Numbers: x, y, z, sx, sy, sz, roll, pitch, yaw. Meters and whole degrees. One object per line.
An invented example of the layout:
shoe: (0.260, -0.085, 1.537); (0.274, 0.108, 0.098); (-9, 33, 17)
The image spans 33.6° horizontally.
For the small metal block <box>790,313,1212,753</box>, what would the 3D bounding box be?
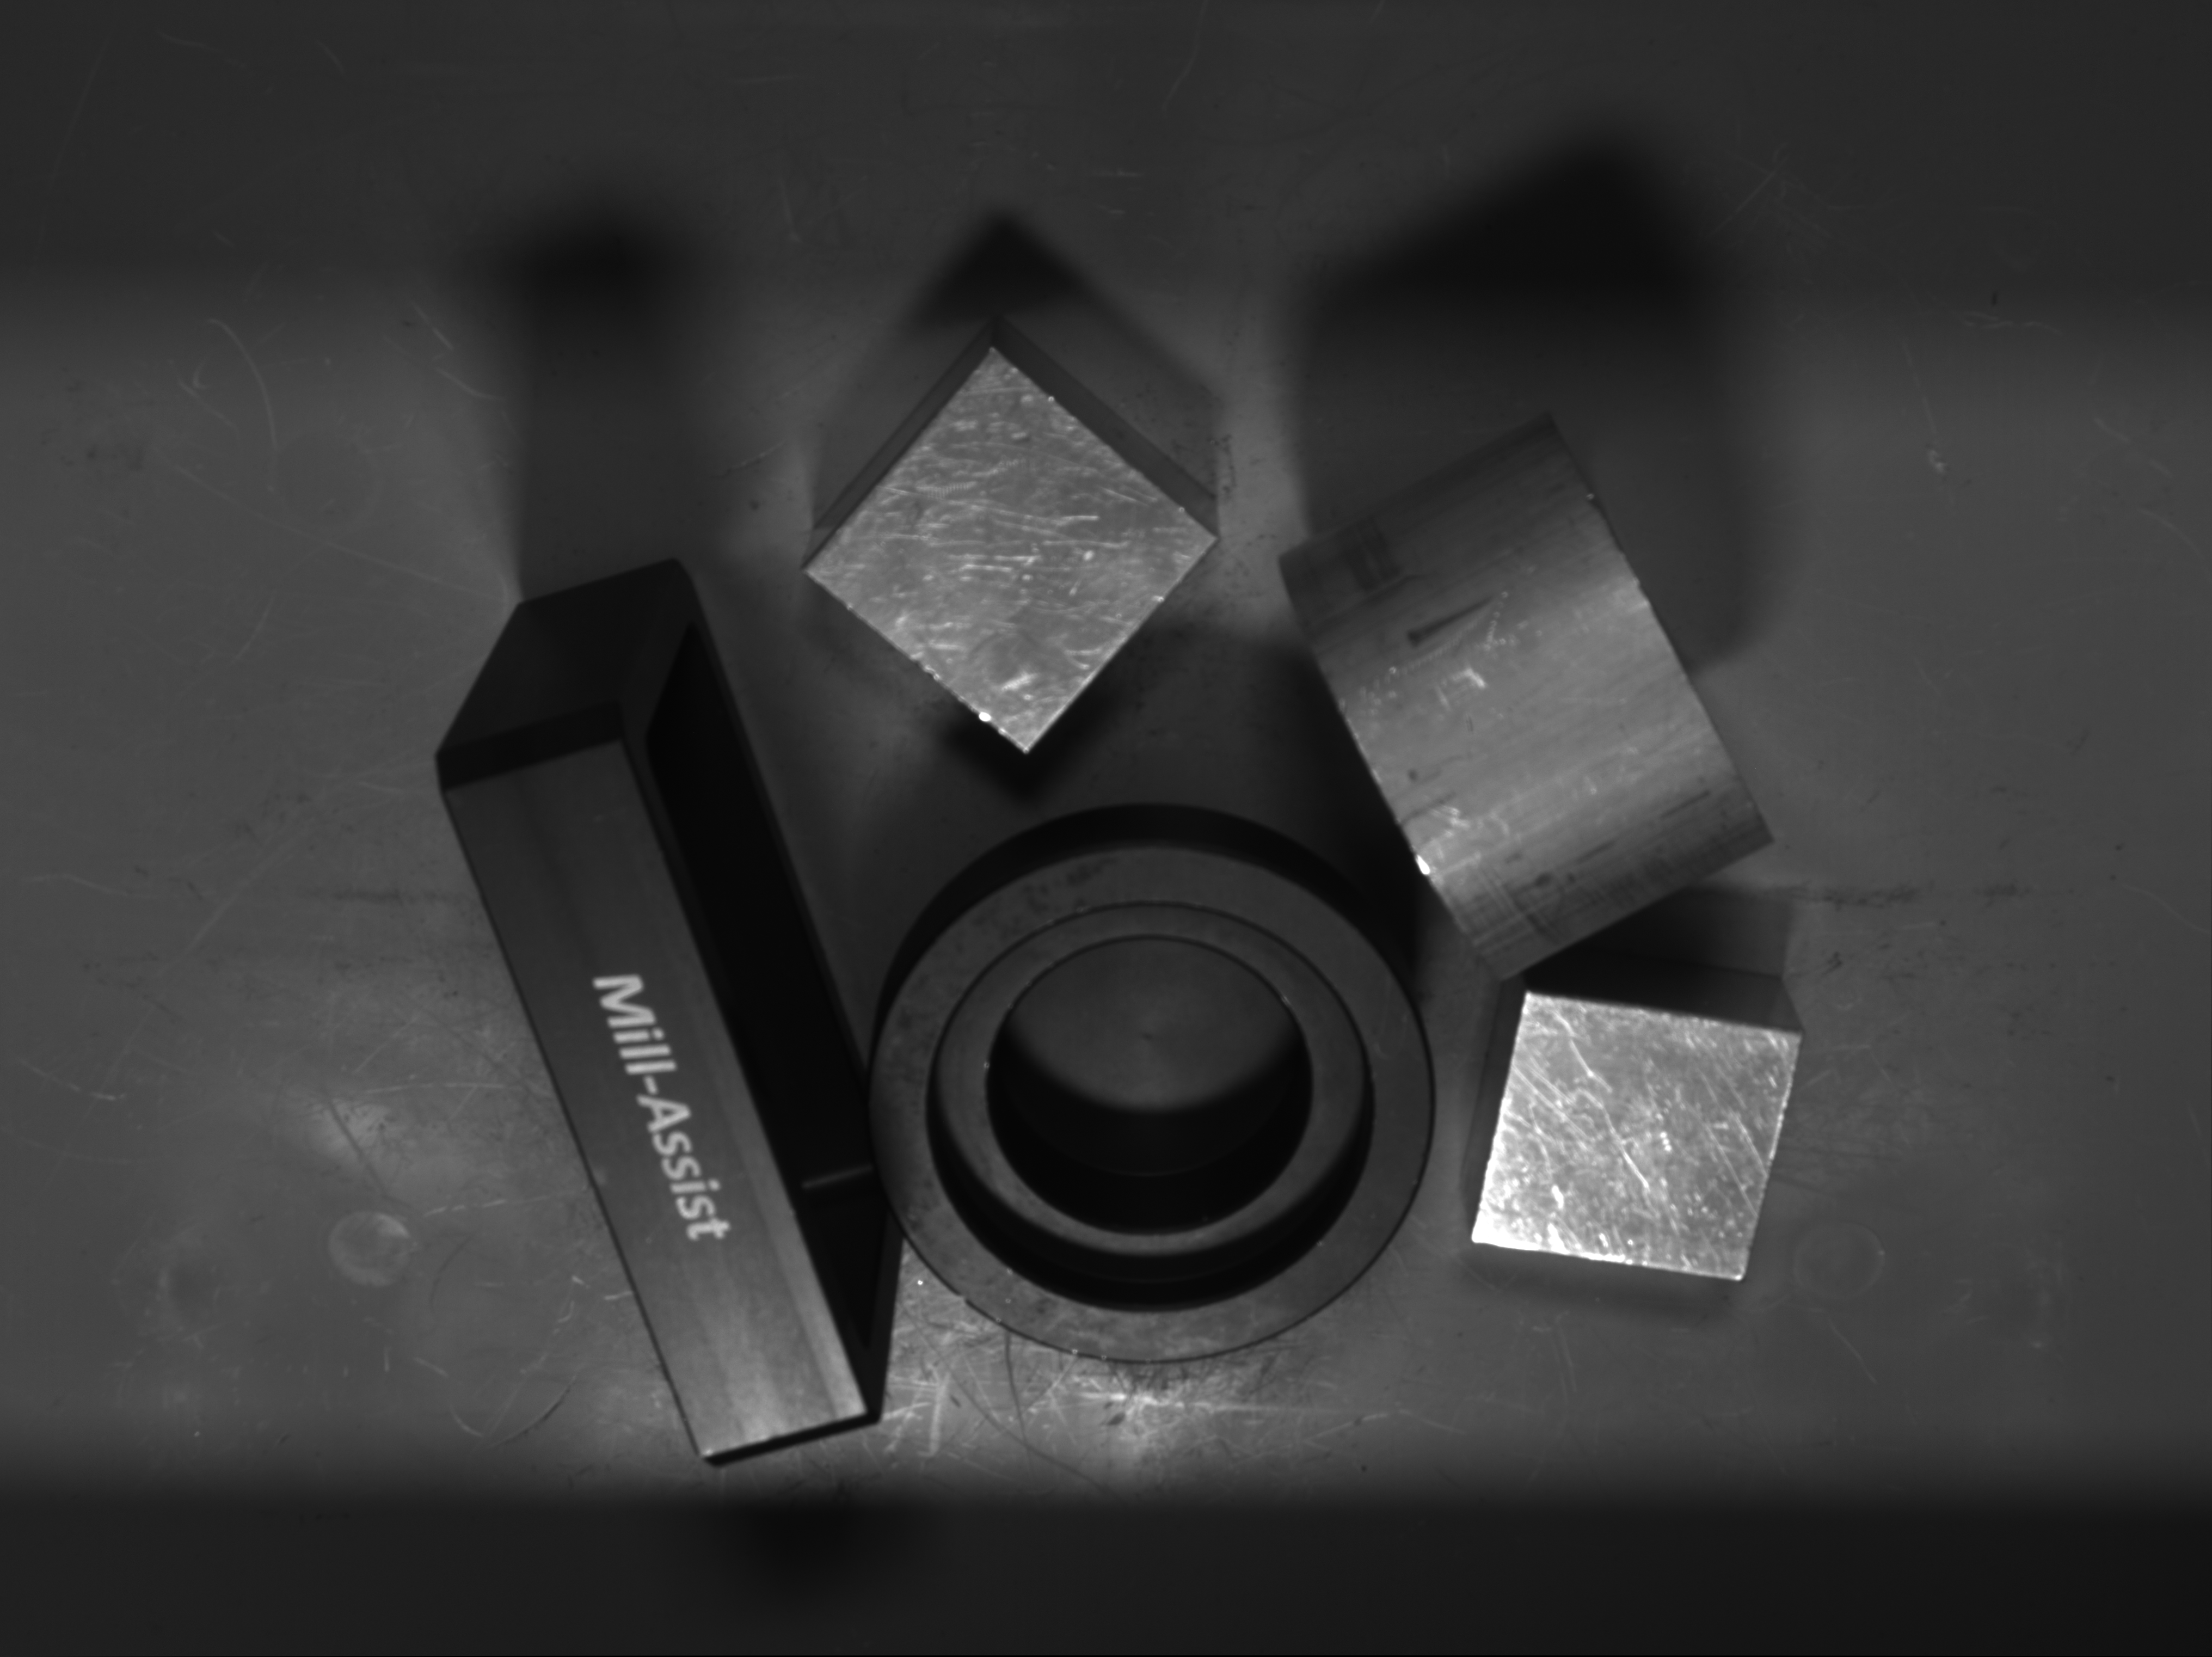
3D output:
small metal block: (-0.017, -0.050, 0.623); (0.050, 0.025, 0.050); (39, 106, -12)

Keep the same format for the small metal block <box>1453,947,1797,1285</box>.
small metal block: (0.093, 0.051, 0.661); (0.050, 0.025, 0.050); (9, 109, -2)

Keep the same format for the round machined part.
round machined part: (0.006, 0.042, 0.646); (0.098, 0.042, 0.098); (0, 110, -1)

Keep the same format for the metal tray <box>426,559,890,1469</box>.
metal tray: (-0.071, 0.029, 0.617); (0.030, 0.090, 0.130); (-16, 109, 6)

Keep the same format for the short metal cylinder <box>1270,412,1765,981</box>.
short metal cylinder: (0.068, -0.022, 0.606); (0.050, 0.080, 0.080); (-27, 108, 9)
